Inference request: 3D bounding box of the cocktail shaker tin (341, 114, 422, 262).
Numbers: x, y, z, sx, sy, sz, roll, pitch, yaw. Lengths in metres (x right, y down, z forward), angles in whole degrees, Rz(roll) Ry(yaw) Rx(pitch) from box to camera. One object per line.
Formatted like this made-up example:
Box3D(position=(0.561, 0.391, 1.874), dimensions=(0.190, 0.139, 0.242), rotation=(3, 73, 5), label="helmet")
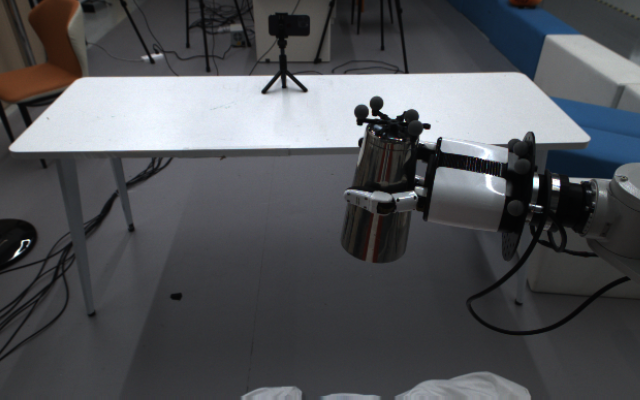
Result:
Box3D(position=(0.082, -0.014, 0.629), dimensions=(0.093, 0.170, 0.093), rotation=(4, 32, -2), label="cocktail shaker tin")
